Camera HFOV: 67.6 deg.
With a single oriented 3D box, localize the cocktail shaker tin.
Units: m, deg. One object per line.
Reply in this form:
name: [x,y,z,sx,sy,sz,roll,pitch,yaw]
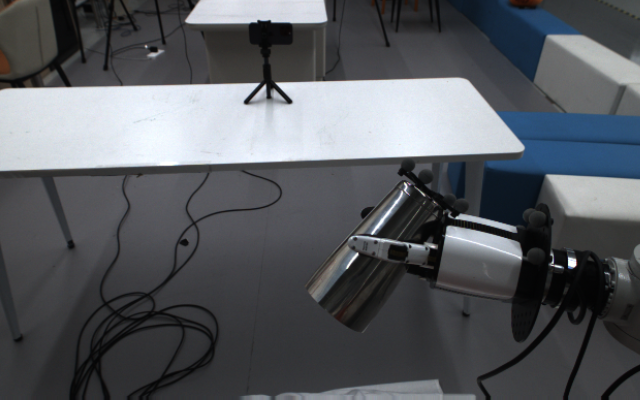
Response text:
cocktail shaker tin: [0.072,0.059,0.580,0.170,0.093,0.093,-50,46,4]
